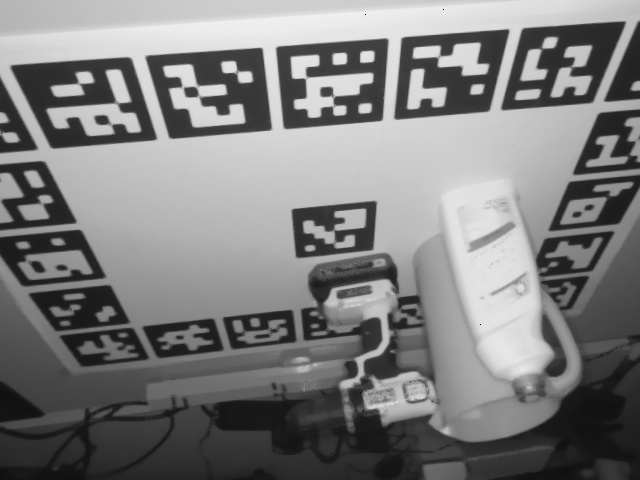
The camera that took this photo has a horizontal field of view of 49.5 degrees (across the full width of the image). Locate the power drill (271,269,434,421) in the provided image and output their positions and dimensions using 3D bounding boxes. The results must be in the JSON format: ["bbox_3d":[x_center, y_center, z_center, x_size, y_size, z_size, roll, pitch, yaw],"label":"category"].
[{"bbox_3d":[0.036,0.125,0.827,0.184,0.188,0.057,-5,137,4],"label":"power drill"}]

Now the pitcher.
[{"bbox_3d":[0.203,0.103,0.820,0.187,0.244,0.134,-24,136,17],"label":"pitcher"}]

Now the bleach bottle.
[{"bbox_3d":[0.213,0.052,0.731,0.102,0.252,0.067,-11,139,2],"label":"bleach bottle"}]
